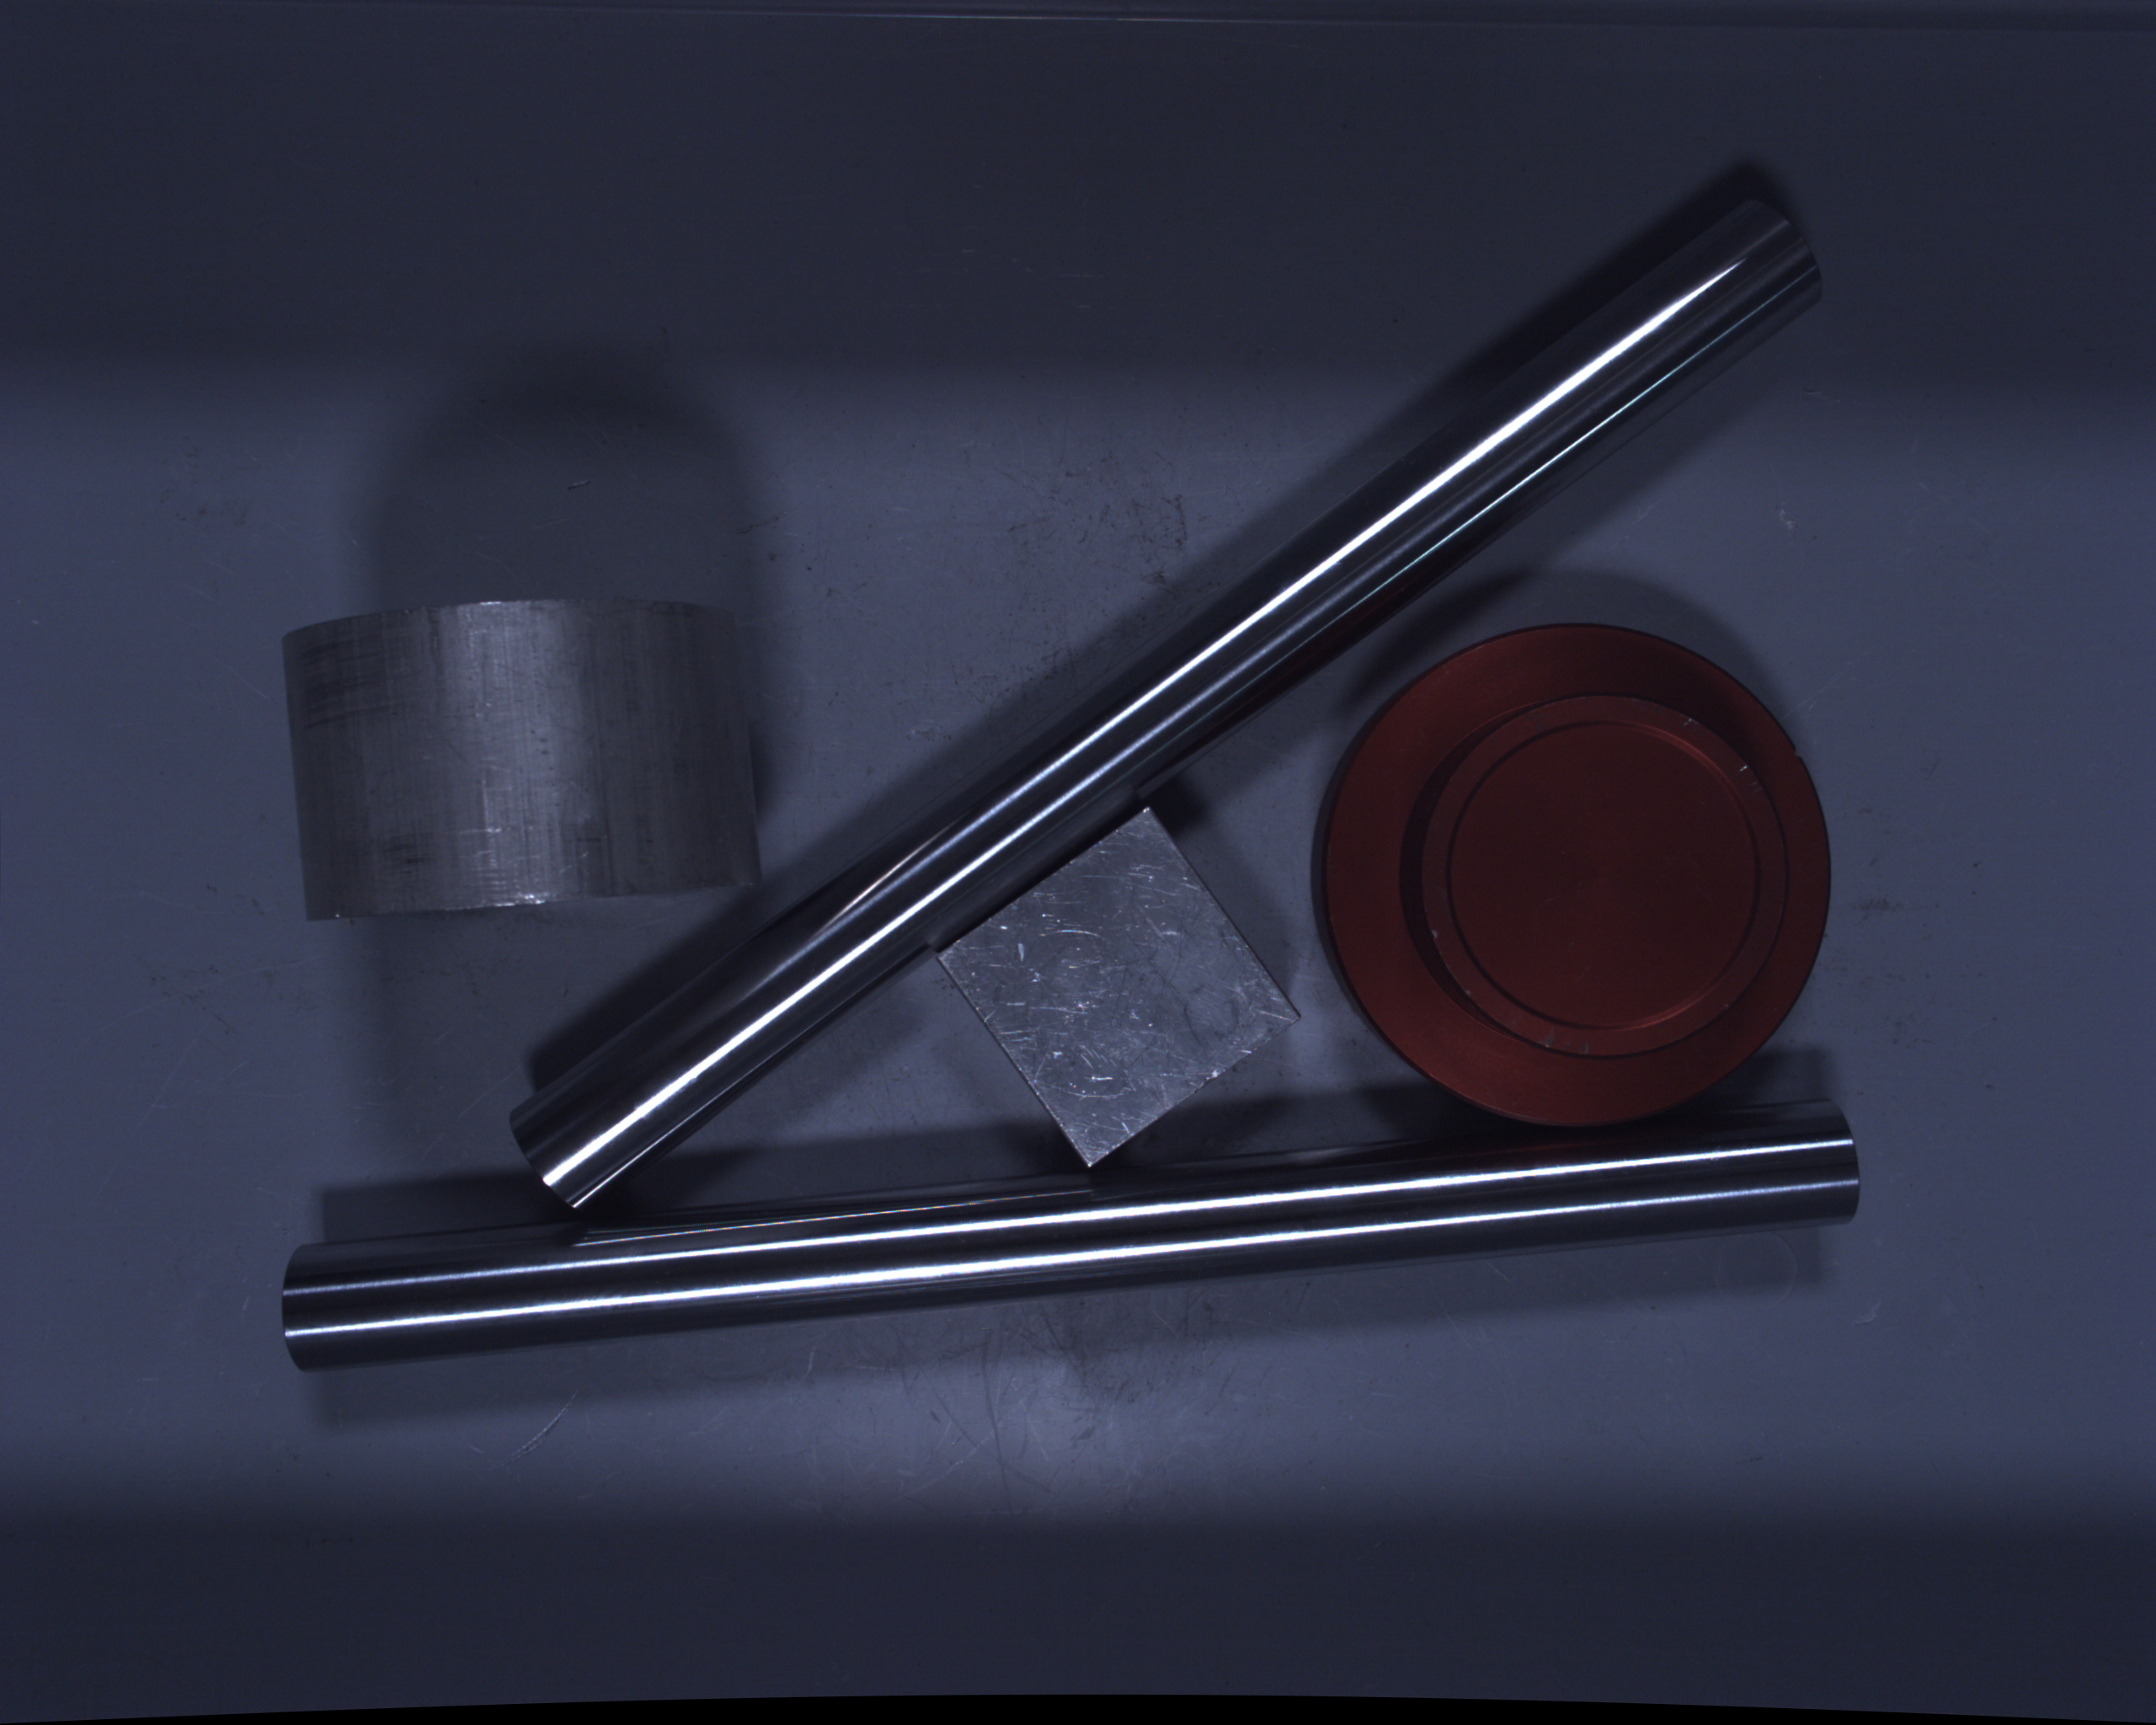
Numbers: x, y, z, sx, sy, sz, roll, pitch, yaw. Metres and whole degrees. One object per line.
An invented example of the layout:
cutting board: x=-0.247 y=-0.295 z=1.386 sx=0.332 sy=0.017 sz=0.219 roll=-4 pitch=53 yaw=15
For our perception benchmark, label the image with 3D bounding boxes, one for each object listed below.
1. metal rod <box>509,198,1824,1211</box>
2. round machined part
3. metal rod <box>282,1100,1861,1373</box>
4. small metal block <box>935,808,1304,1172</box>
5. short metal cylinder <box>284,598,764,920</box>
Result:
metal rod: x=0.018 y=-0.031 z=0.410 sx=0.301 sy=0.025 sz=0.025 roll=-36 pitch=90 yaw=-1
round machined part: x=0.096 y=0.003 z=0.401 sx=0.099 sy=0.042 sz=0.097 roll=0 pitch=90 yaw=-1
metal rod: x=-0.001 y=0.073 z=0.410 sx=0.302 sy=0.025 sz=0.025 roll=-5 pitch=90 yaw=-1
small metal block: x=0.008 y=0.024 z=0.409 sx=0.050 sy=0.025 sz=0.050 roll=-36 pitch=90 yaw=0
short metal cylinder: x=-0.100 y=-0.018 z=0.382 sx=0.081 sy=0.080 sz=0.050 roll=-5 pitch=90 yaw=-1
